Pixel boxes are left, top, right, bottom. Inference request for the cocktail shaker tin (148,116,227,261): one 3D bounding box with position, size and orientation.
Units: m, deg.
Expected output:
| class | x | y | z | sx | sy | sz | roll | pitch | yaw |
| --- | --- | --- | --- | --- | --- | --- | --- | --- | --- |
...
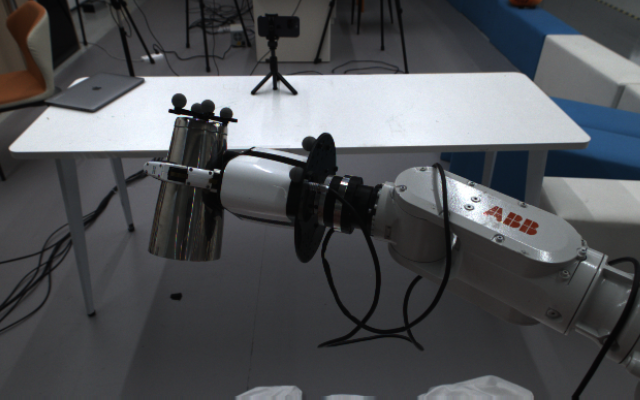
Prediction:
| class | x | y | z | sx | sy | sz | roll | pitch | yaw |
| --- | --- | --- | --- | --- | --- | --- | --- | --- | --- |
| cocktail shaker tin | -0.161 | -0.014 | 0.619 | 0.093 | 0.170 | 0.093 | 8 | 3 | 0 |
